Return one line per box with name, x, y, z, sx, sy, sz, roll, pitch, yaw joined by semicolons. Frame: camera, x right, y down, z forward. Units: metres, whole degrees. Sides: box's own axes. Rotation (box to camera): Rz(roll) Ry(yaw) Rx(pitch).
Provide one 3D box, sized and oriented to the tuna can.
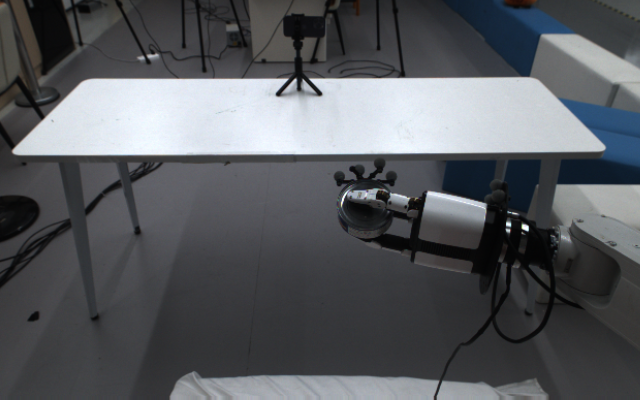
tuna can;0.068;0.013;0.716;0.085;0.034;0.085;-2;58;3
